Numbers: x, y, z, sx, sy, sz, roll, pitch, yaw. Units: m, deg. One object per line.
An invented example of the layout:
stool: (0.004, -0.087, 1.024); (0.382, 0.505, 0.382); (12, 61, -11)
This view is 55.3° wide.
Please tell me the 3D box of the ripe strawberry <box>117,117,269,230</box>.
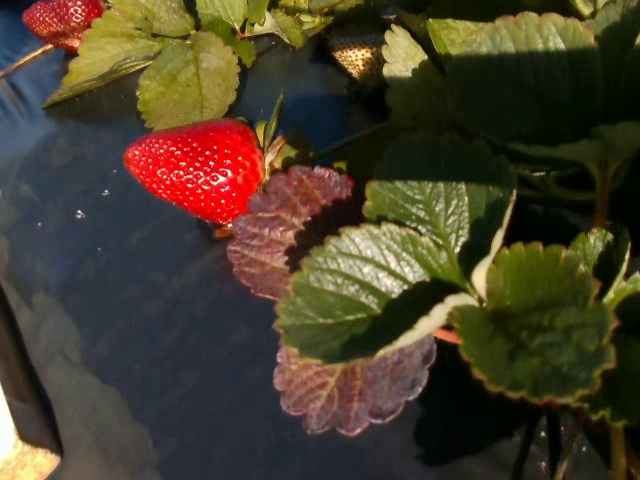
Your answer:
ripe strawberry: (-0.045, -0.024, 0.210); (0.050, 0.042, 0.043); (7, -35, -20)

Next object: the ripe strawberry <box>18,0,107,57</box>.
ripe strawberry: (-0.148, -0.128, 0.357); (0.053, 0.043, 0.041); (-8, 44, -28)
